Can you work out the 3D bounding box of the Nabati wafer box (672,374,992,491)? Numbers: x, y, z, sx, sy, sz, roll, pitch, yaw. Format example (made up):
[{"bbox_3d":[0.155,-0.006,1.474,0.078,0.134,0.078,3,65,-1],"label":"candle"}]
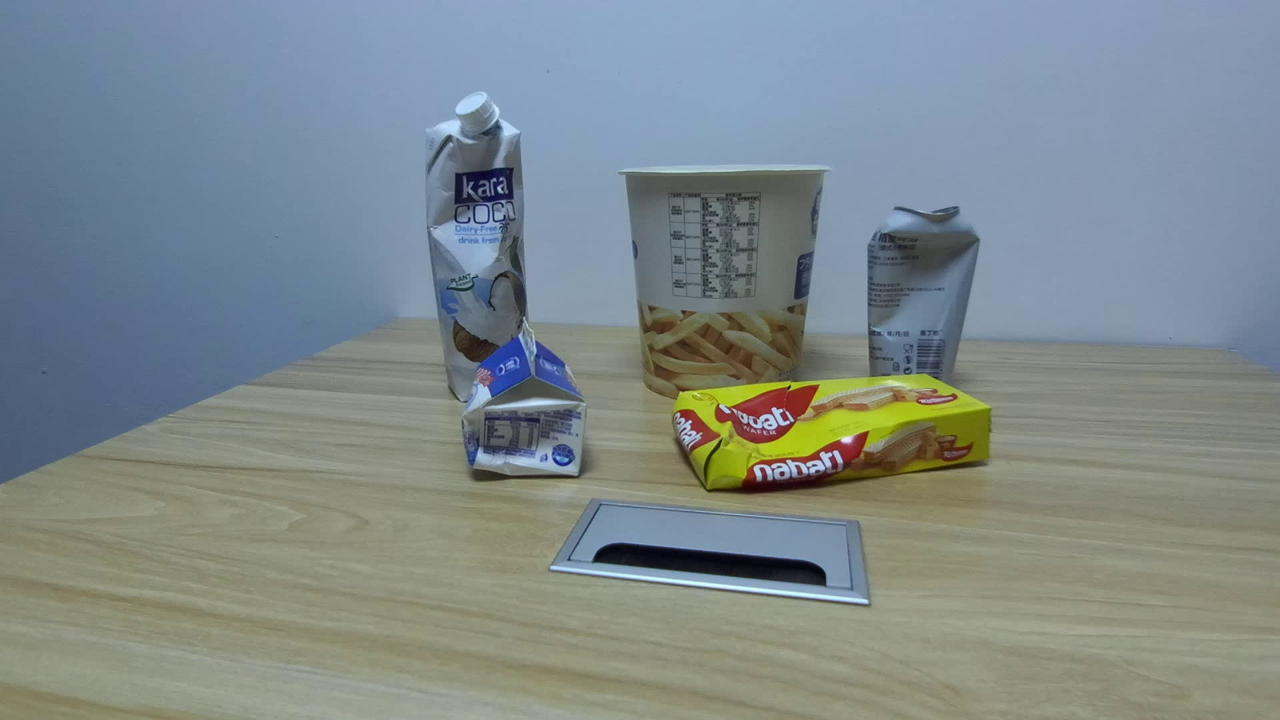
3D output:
[{"bbox_3d":[0.131,0.049,0.498,0.204,0.042,0.106,-4,15,-8],"label":"Nabati wafer box"}]

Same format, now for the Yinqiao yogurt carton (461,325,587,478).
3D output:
[{"bbox_3d":[-0.081,0.025,0.486,0.080,0.097,0.074,2,18,-13],"label":"Yinqiao yogurt carton"}]

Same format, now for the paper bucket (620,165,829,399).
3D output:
[{"bbox_3d":[0.075,-0.074,0.645,0.198,0.194,0.198,-1,16,1],"label":"paper bucket"}]

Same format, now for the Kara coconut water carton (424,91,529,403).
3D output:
[{"bbox_3d":[-0.141,-0.097,0.620,0.083,0.255,0.078,-4,19,-12],"label":"Kara coconut water carton"}]
